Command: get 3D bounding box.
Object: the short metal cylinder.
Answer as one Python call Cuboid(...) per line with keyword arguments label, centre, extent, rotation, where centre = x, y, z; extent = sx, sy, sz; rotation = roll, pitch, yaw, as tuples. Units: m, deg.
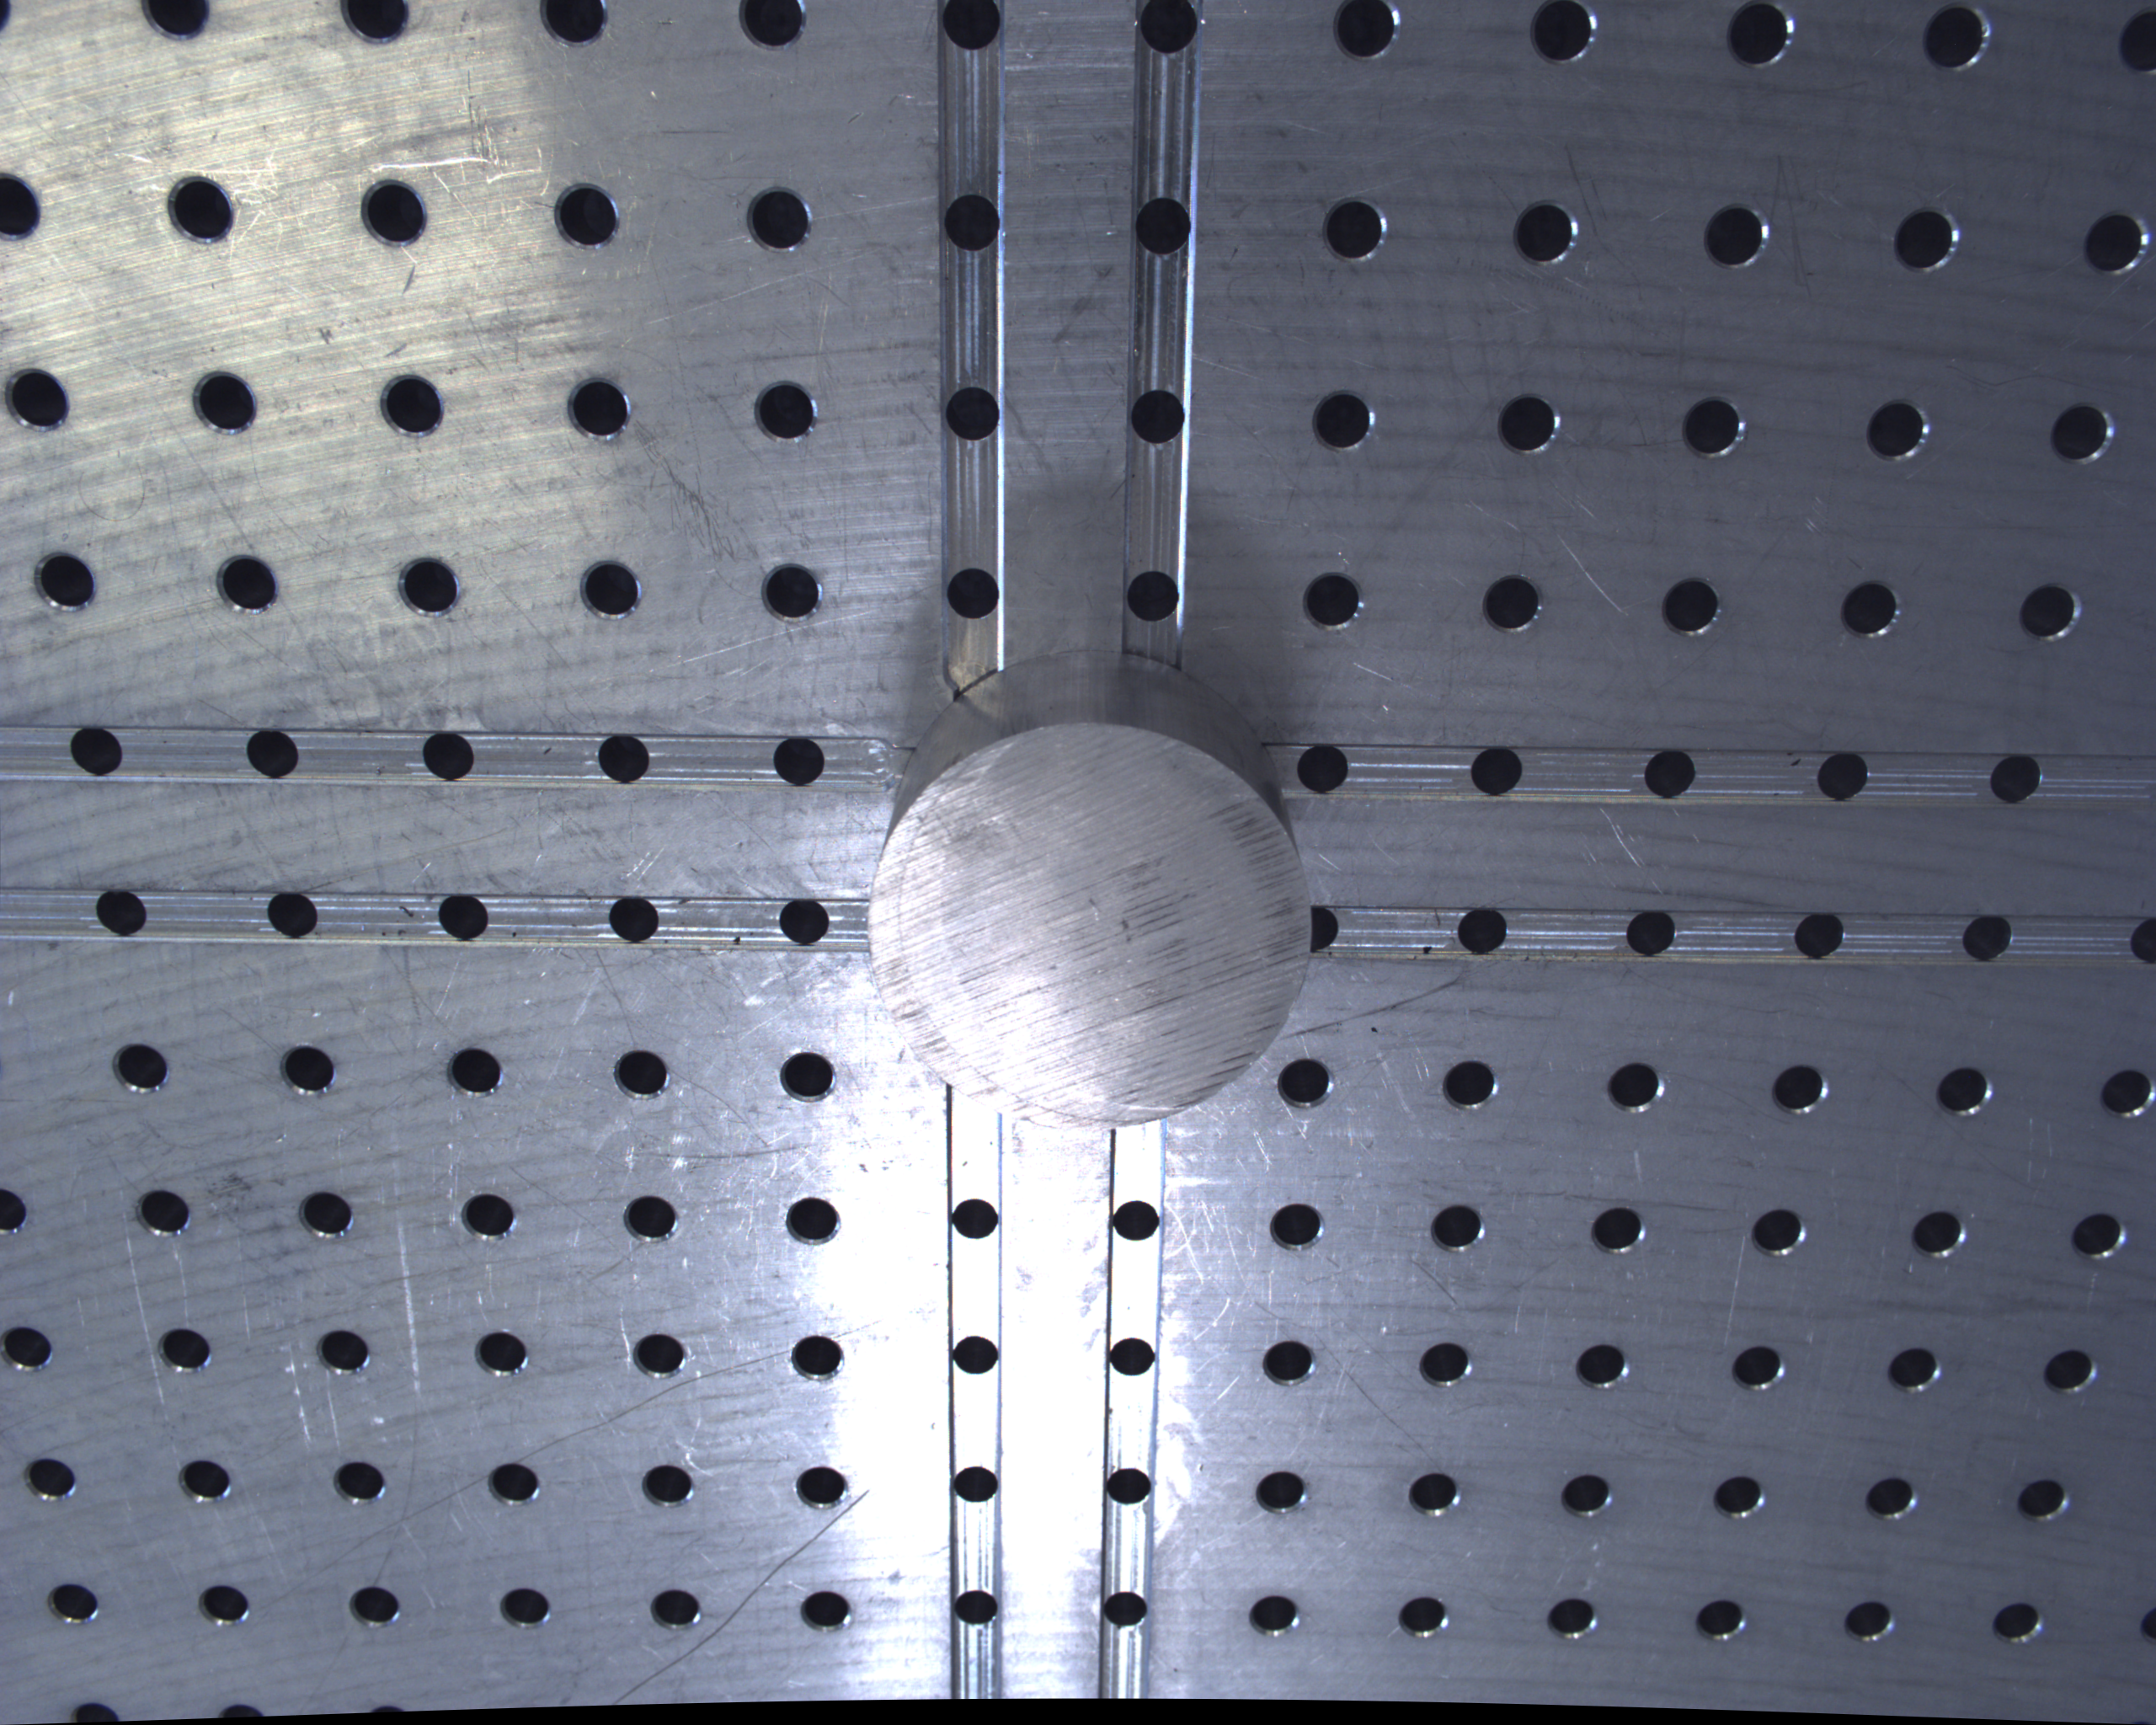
Cuboid(label="short metal cylinder", centre=(0.002, 0.005, 0.402), extent=(0.080, 0.050, 0.079), rotation=(0, 110, 0))
